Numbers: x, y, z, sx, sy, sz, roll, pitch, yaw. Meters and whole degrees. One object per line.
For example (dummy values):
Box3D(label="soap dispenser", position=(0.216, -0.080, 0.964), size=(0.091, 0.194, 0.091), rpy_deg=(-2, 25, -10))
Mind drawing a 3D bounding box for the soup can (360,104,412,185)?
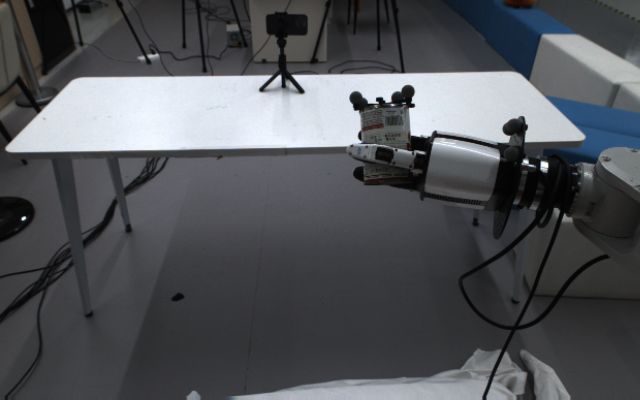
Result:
Box3D(label="soup can", position=(0.091, -0.072, 0.651), size=(0.067, 0.101, 0.067), rpy_deg=(-3, -1, 0))
